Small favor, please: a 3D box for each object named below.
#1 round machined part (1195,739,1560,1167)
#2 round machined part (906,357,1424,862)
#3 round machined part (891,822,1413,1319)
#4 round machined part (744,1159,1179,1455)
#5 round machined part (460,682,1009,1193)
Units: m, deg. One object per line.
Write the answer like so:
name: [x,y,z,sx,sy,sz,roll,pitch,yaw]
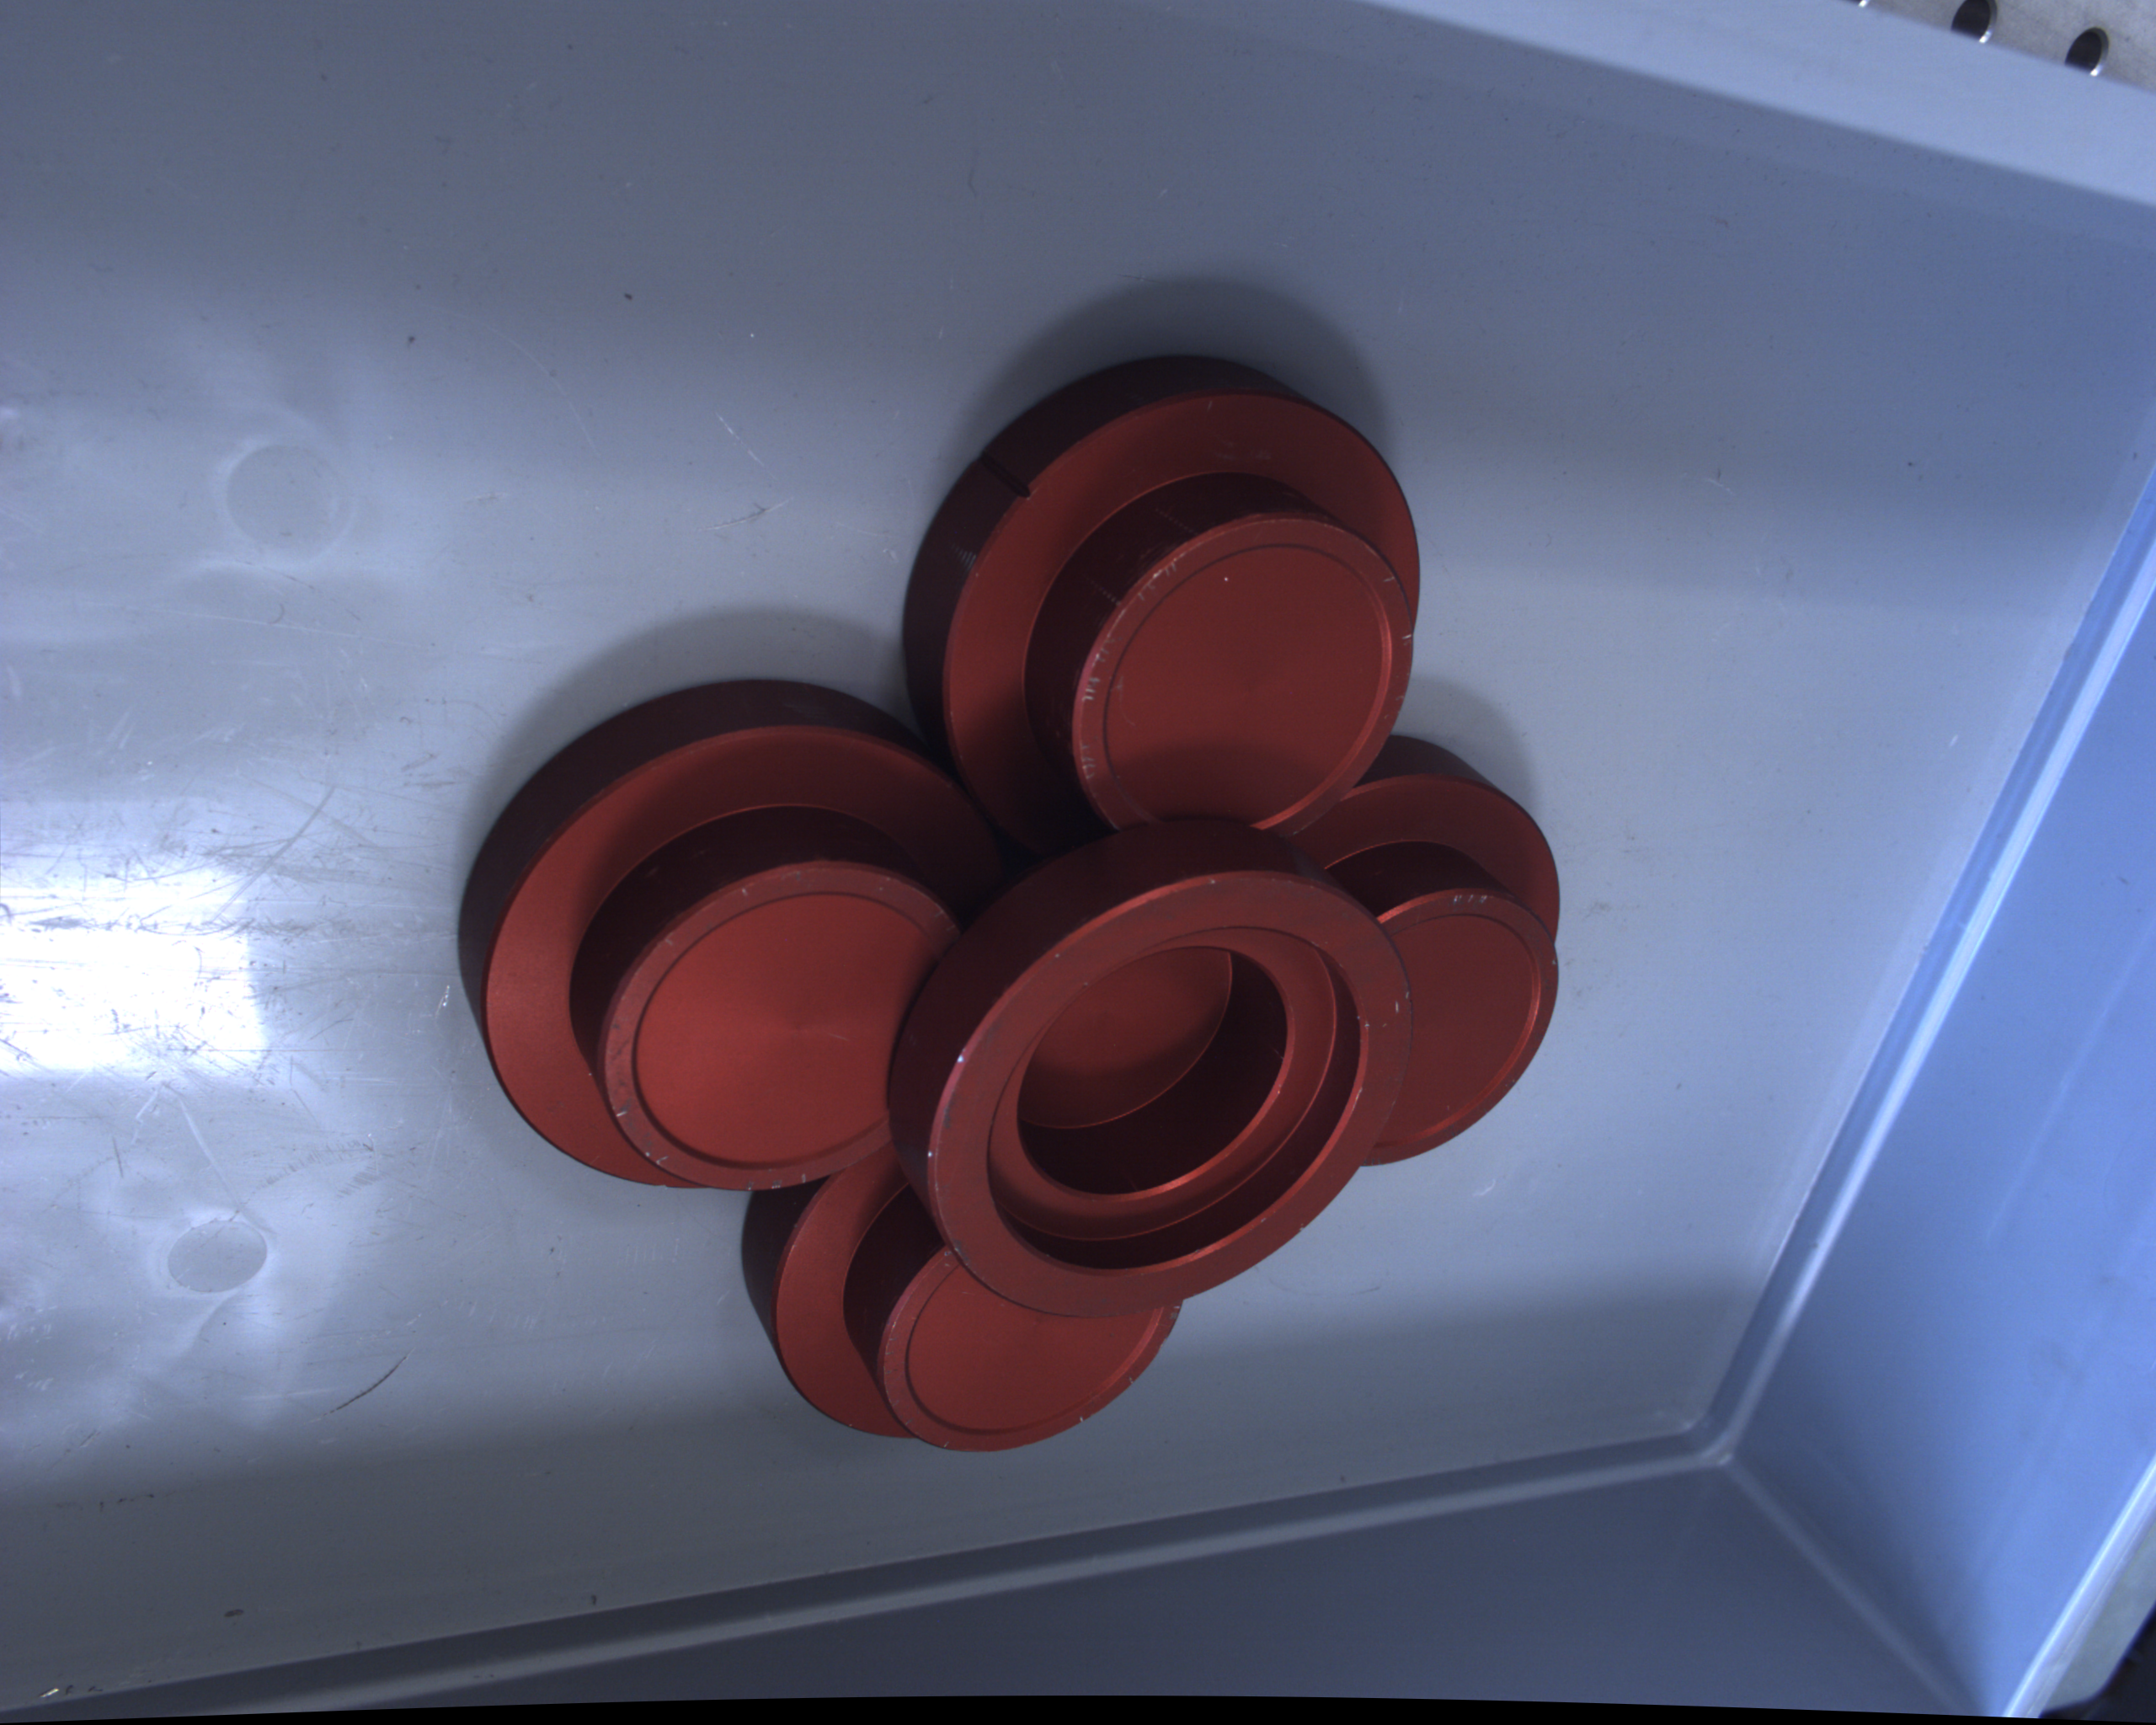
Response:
round machined part: [0.062,0.026,0.444,0.099,0.042,0.097,-14,124,-21]
round machined part: [0.022,-0.039,0.382,0.099,0.042,0.097,-14,124,-21]
round machined part: [0.011,0.035,0.395,0.099,0.042,0.097,-14,124,-21]
round machined part: [-0.016,0.084,0.438,0.099,0.042,0.097,-14,123,-22]
round machined part: [-0.057,0.020,0.376,0.099,0.042,0.097,-14,124,-21]
